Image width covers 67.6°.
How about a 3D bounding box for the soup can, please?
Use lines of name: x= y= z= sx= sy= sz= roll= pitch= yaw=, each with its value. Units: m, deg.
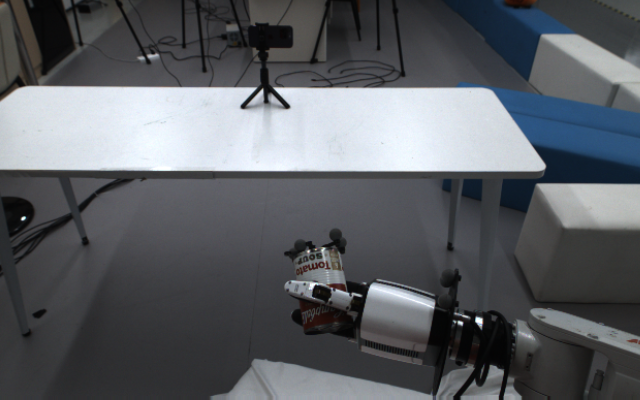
soup can: x=0.006 y=0.122 z=0.644 sx=0.067 sy=0.067 sz=0.101 roll=-6 pitch=67 yaw=-12
